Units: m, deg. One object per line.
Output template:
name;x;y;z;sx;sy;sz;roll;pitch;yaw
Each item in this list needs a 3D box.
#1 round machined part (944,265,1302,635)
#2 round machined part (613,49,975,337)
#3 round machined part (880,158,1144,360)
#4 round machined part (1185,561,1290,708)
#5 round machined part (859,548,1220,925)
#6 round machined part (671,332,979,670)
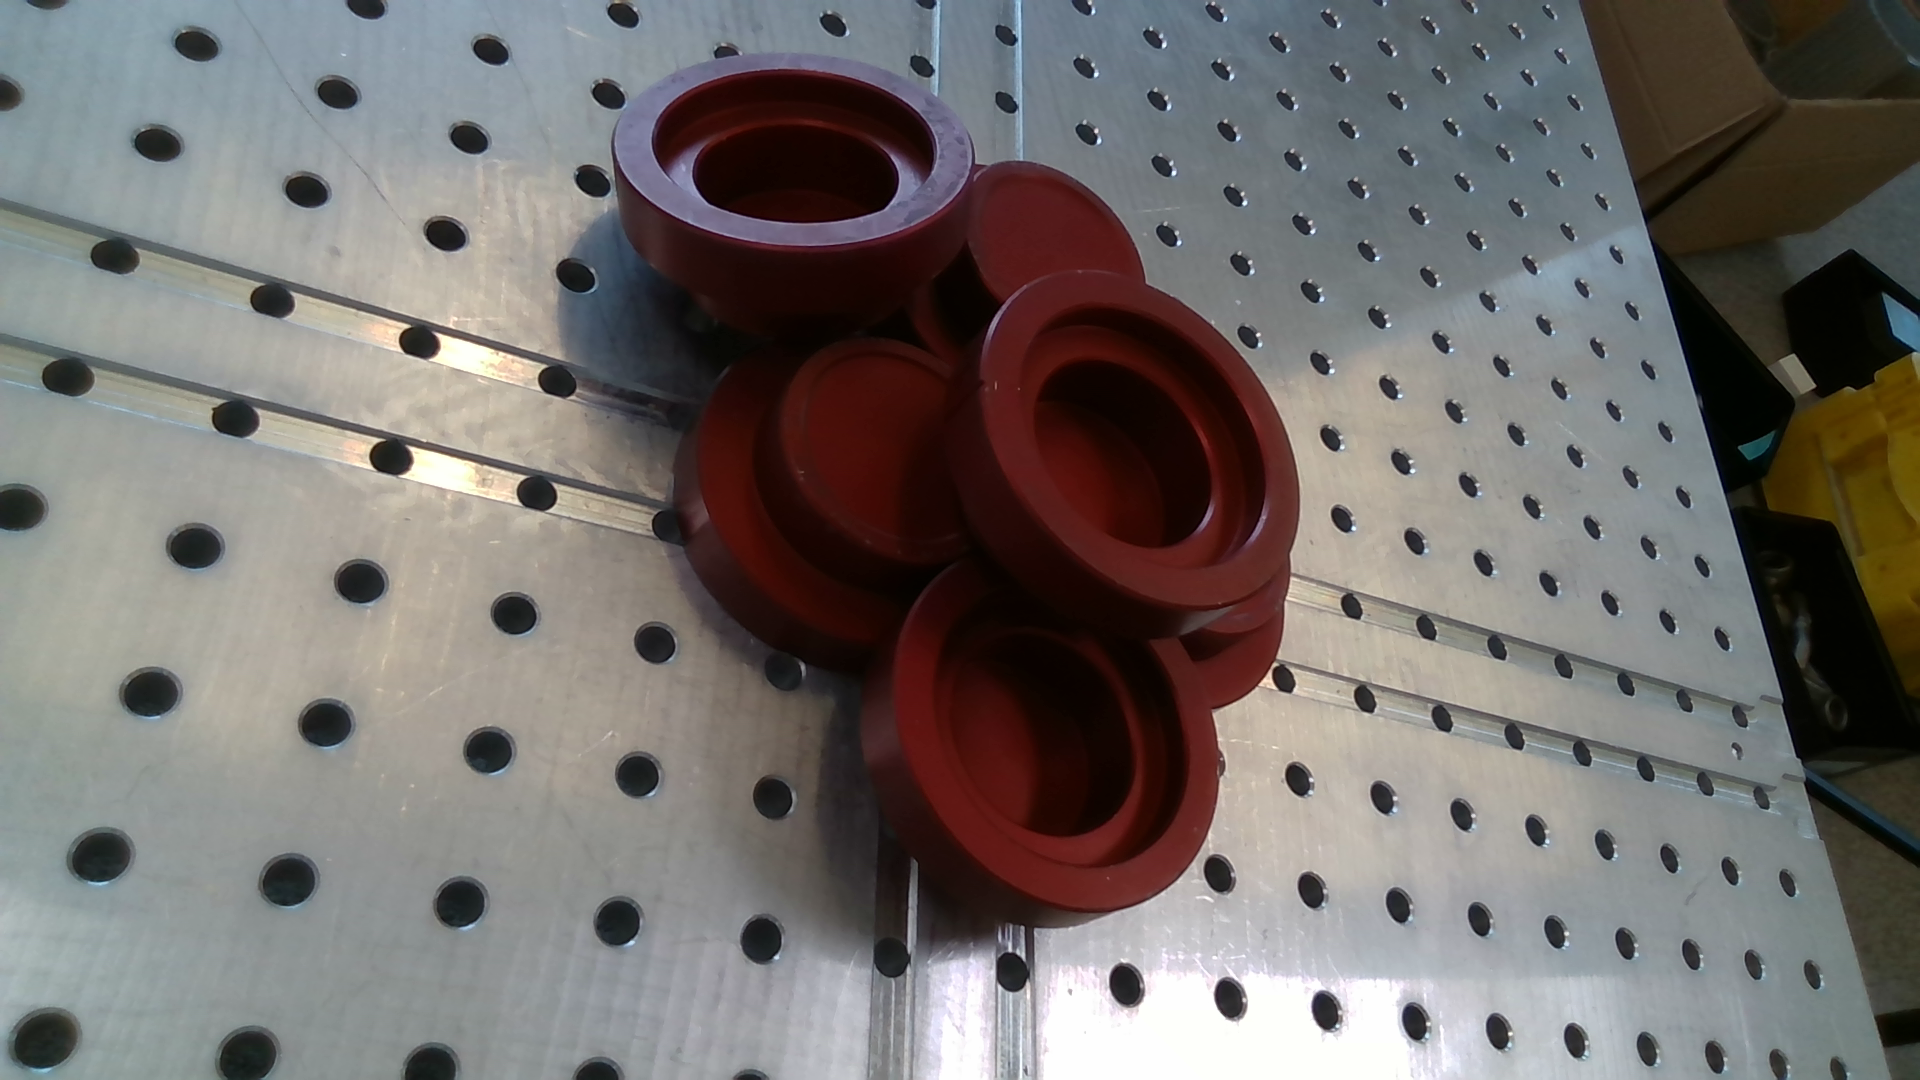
round machined part;0.039;-0.020;0.364;0.098;0.042;0.098;14;59;-25
round machined part;-0.046;-0.095;0.391;0.098;0.042;0.098;4;48;-4
round machined part;0.020;-0.082;0.441;0.098;0.042;0.098;14;59;-25
round machined part;0.061;0.005;0.420;0.098;0.042;0.098;14;59;-25
round machined part;0.017;0.054;0.367;0.098;0.042;0.098;14;59;-25
round machined part;-0.026;-0.017;0.378;0.098;0.042;0.098;14;59;-25
